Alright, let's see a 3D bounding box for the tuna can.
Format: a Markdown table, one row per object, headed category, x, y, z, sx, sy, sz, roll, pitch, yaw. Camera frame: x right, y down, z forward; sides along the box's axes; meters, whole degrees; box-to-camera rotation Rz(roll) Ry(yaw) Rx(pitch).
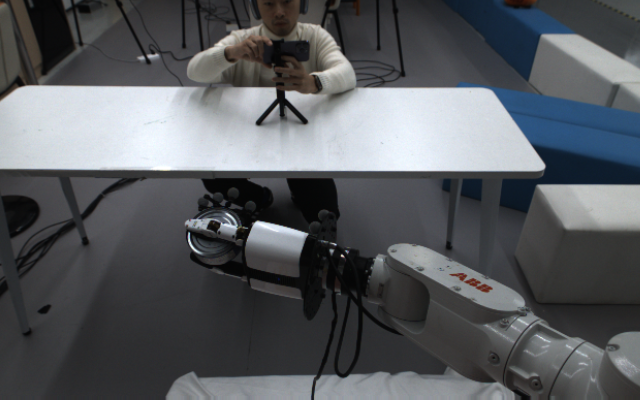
| category | x | y | z | sx | sy | sz | roll | pitch | yaw |
| --- | --- | --- | --- | --- | --- | --- | --- | --- | --- |
| tuna can | -0.159 | 0.056 | 0.741 | 0.085 | 0.034 | 0.085 | -3 | 56 | 5 |
